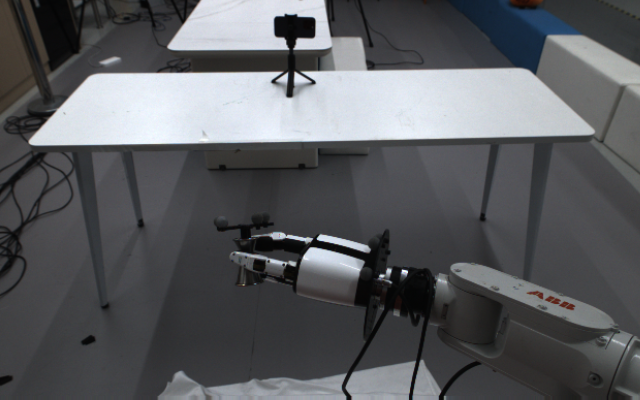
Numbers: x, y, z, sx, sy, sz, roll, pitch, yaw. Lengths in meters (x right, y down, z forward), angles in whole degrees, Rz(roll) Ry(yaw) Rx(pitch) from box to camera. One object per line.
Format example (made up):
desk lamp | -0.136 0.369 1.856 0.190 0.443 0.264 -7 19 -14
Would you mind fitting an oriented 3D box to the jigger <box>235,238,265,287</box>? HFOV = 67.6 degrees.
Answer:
jigger | -0.107 0.090 0.716 0.043 0.071 0.043 -4 1 0
